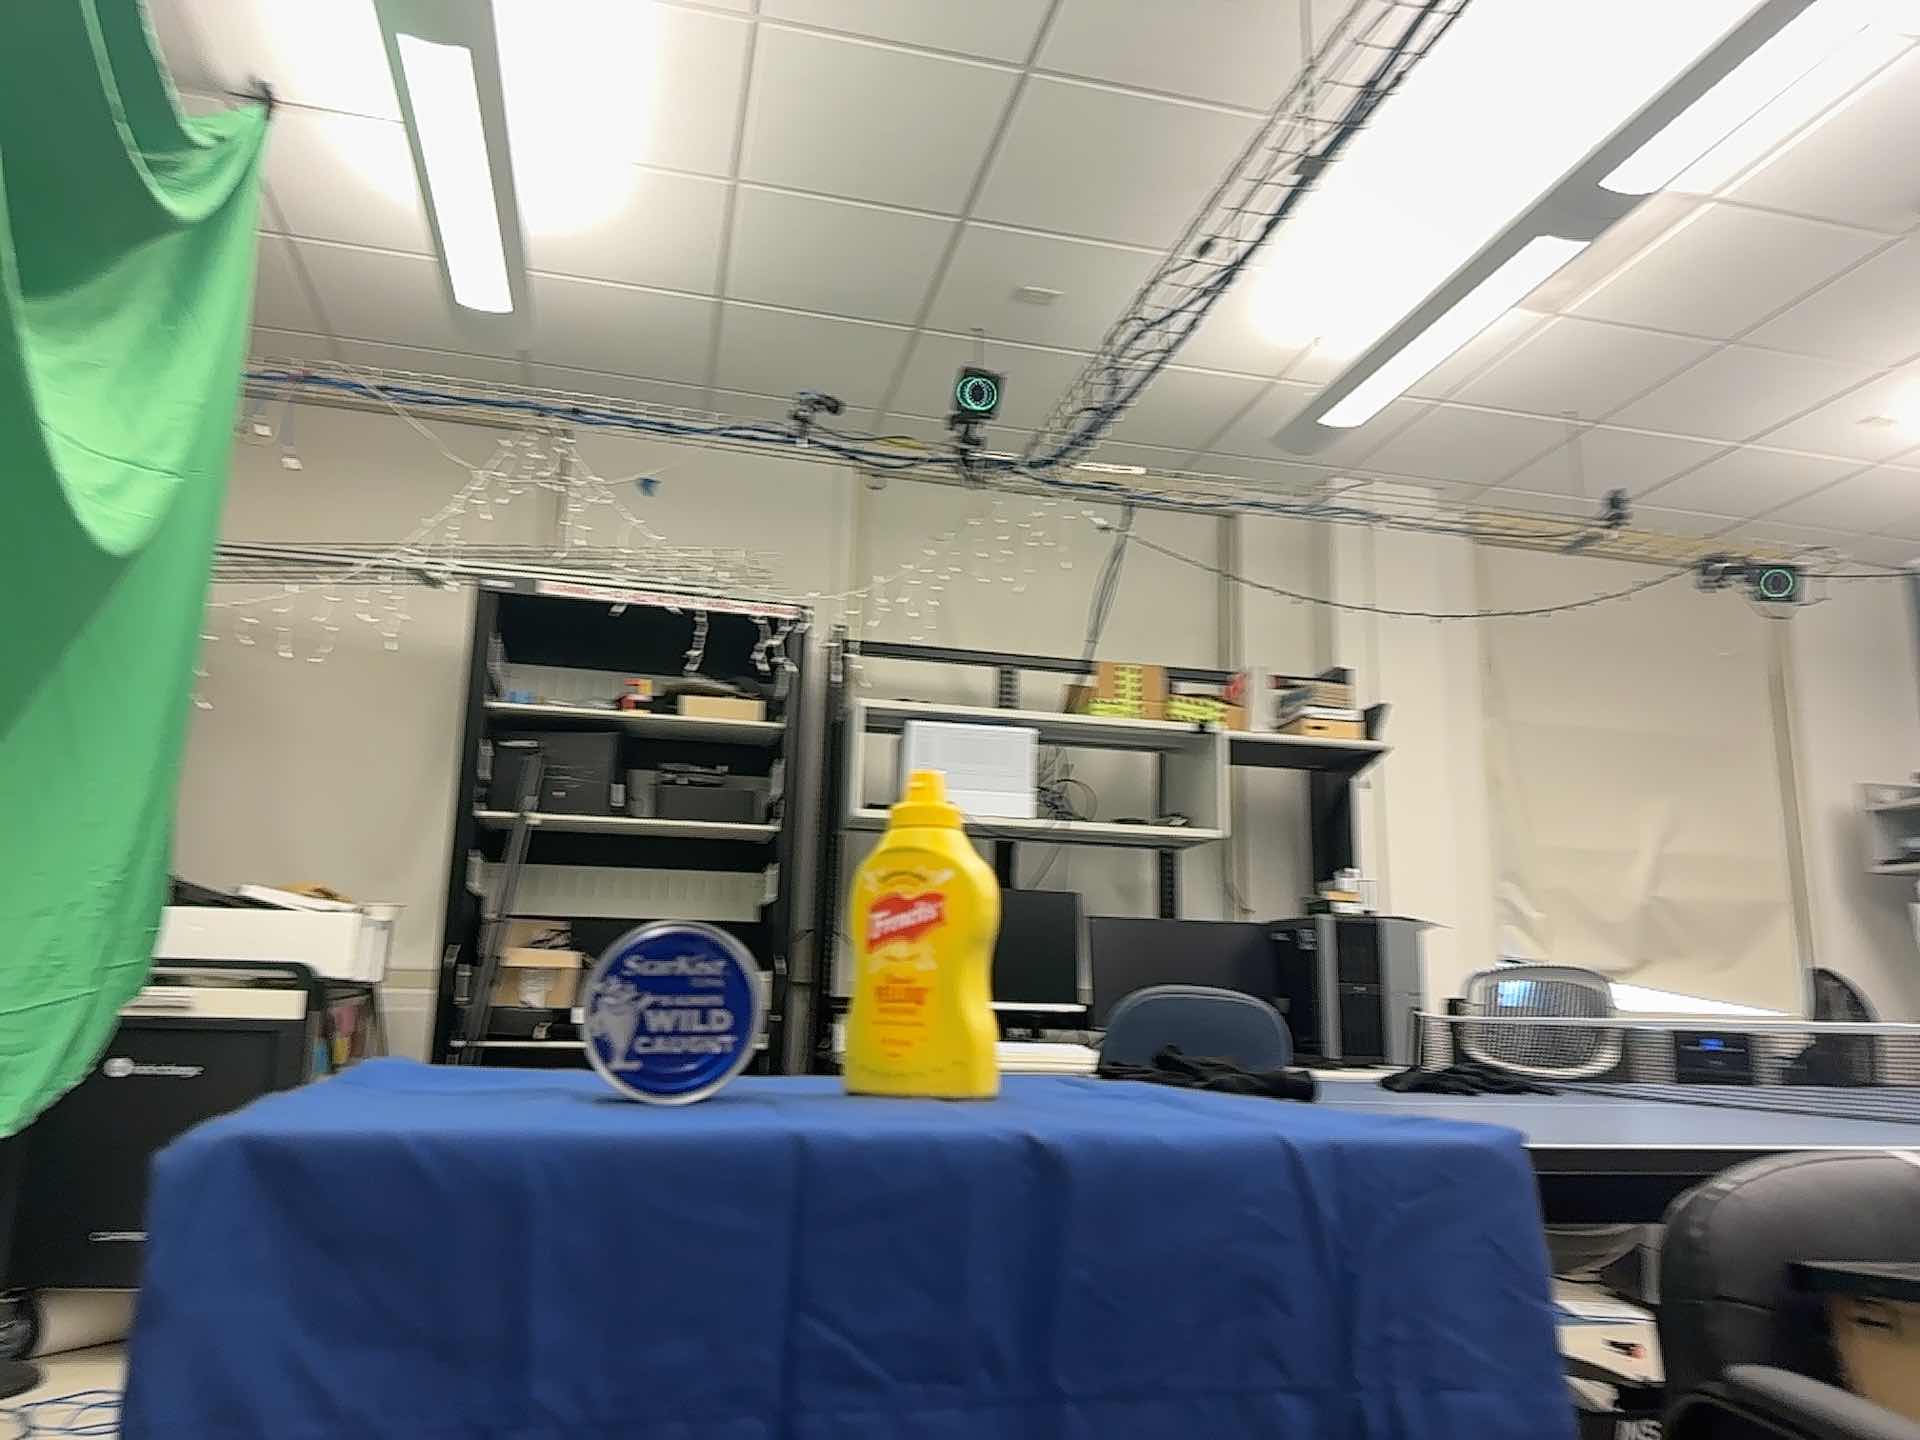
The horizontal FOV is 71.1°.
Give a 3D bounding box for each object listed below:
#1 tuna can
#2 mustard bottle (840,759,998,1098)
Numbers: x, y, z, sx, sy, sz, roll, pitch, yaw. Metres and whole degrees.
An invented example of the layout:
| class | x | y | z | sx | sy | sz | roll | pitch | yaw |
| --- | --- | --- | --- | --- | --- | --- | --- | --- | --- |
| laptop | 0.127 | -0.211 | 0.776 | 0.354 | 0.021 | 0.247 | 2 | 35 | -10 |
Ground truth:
| class | x | y | z | sx | sy | sz | roll | pitch | yaw |
| --- | --- | --- | --- | --- | --- | --- | --- | --- | --- |
| tuna can | -0.141 | 0.142 | 0.667 | 0.083 | 0.083 | 0.034 | 3 | -12 | -10 |
| mustard bottle | -0.022 | 0.112 | 0.747 | 0.092 | 0.184 | 0.054 | -8 | -15 | 36 |
